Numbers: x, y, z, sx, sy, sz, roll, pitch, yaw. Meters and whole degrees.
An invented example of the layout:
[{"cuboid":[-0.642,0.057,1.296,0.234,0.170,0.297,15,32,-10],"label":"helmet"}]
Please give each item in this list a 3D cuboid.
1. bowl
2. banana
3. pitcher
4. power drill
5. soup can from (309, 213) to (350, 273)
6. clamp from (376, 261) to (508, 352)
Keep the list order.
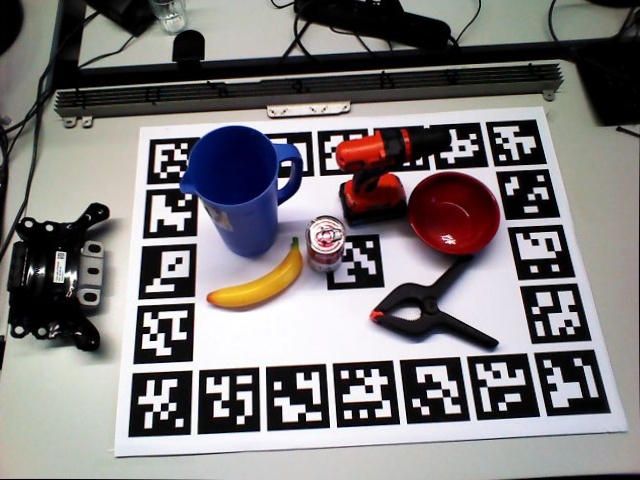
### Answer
[{"cuboid":[0.242,-0.039,0.910,0.162,0.055,0.161,0,70,1],"label":"bowl"},{"cuboid":[-0.102,0.072,0.885,0.197,0.039,0.074,-28,63,-11],"label":"banana"},{"cuboid":[-0.108,-0.071,0.828,0.188,0.243,0.133,-27,68,-10],"label":"pitcher"},{"cuboid":[0.128,-0.116,0.852,0.185,0.187,0.057,-8,69,-3],"label":"power drill"},{"cuboid":[0.018,0.005,0.873,0.068,0.102,0.067,-1,60,1],"label":"soup can"},{"cuboid":[0.194,0.112,0.856,0.203,0.037,0.164,-6,73,-2],"label":"clamp"}]
